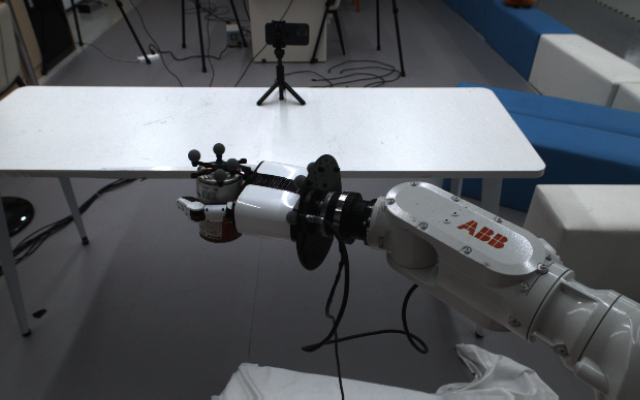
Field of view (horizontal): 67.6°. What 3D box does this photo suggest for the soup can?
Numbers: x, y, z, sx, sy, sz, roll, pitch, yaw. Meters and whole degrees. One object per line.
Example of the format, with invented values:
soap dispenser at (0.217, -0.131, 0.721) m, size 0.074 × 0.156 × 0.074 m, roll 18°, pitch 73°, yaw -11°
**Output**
soup can at (-0.145, 0.005, 0.709) m, size 0.067 × 0.101 × 0.067 m, roll 4°, pitch 31°, yaw -2°
